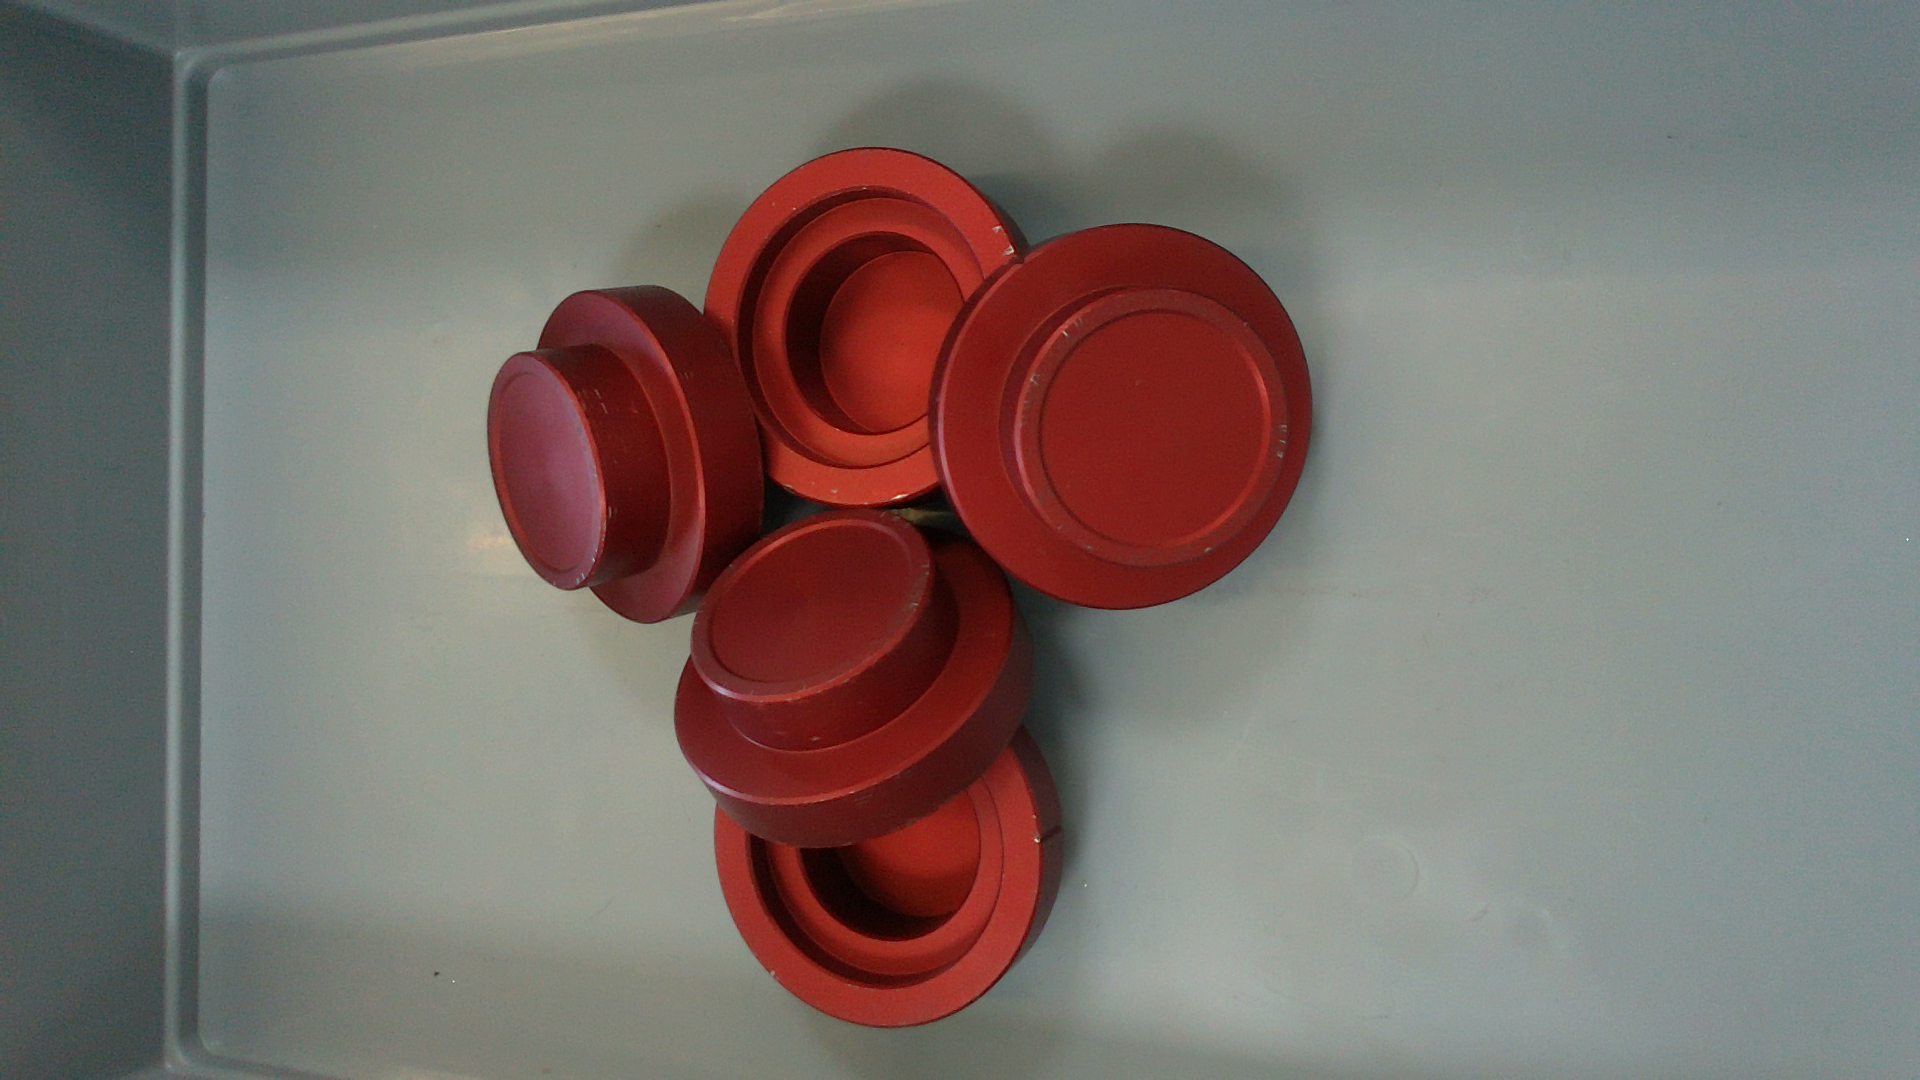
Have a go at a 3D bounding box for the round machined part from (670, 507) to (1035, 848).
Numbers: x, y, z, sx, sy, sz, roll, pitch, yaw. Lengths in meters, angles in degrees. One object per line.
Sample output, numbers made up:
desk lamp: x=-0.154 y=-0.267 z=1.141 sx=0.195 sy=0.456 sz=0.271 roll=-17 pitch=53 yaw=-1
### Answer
round machined part: x=-0.033 y=0.029 z=0.367 sx=0.098 sy=0.098 sz=0.042 roll=-7 pitch=132 yaw=20

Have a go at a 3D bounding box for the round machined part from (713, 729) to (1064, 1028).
round machined part: x=-0.017 y=0.083 z=0.391 sx=0.098 sy=0.042 sz=0.098 roll=0 pitch=90 yaw=20

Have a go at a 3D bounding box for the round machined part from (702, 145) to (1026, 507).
round machined part: x=-0.021 y=-0.058 z=0.392 sx=0.098 sy=0.042 sz=0.098 roll=0 pitch=90 yaw=20

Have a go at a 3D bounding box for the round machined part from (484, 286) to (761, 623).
round machined part: x=-0.103 y=-0.023 z=0.400 sx=0.098 sy=0.042 sz=0.098 roll=17 pitch=114 yaw=44

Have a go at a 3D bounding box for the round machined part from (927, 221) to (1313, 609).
round machined part: x=0.043 y=-0.030 z=0.346 sx=0.098 sy=0.042 sz=0.098 roll=-2 pitch=101 yaw=-10
